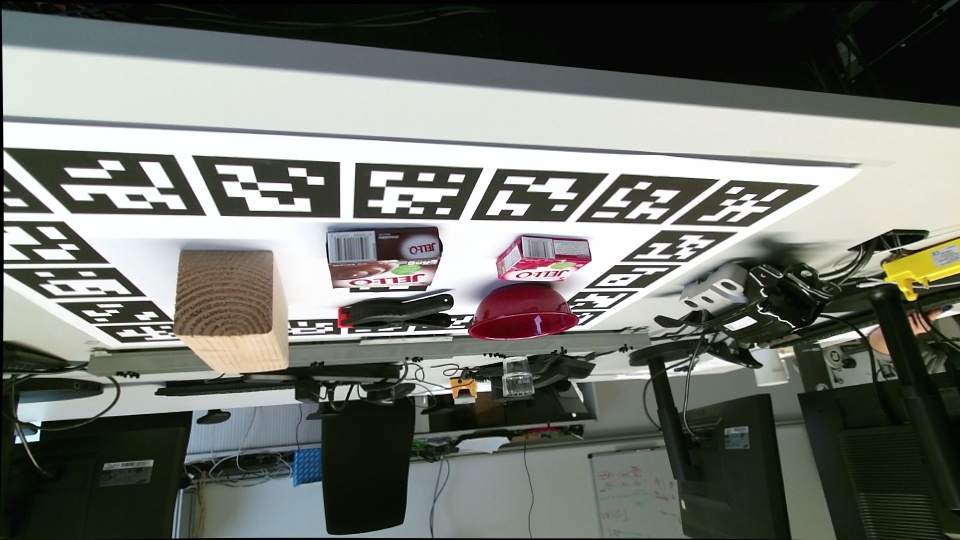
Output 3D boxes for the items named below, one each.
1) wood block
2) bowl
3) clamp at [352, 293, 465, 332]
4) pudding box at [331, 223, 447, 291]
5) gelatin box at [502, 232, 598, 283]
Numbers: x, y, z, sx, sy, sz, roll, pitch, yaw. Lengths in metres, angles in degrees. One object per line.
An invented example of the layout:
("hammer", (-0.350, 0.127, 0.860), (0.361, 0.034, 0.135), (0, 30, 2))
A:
("wood block", (-0.276, 0.059, 0.618), (0.090, 0.090, 0.206), (1, 156, -17))
("bowl", (0.065, 0.059, 0.782), (0.162, 0.055, 0.162), (-5, 155, -2))
("clamp", (-0.103, 0.068, 0.782), (0.166, 0.036, 0.122), (-3, 158, -4))
("pudding box", (-0.098, -0.012, 0.565), (0.114, 0.038, 0.090), (-3, 154, -15))
("gelatin box", (0.080, -0.012, 0.625), (0.090, 0.030, 0.073), (3, 154, -22))
